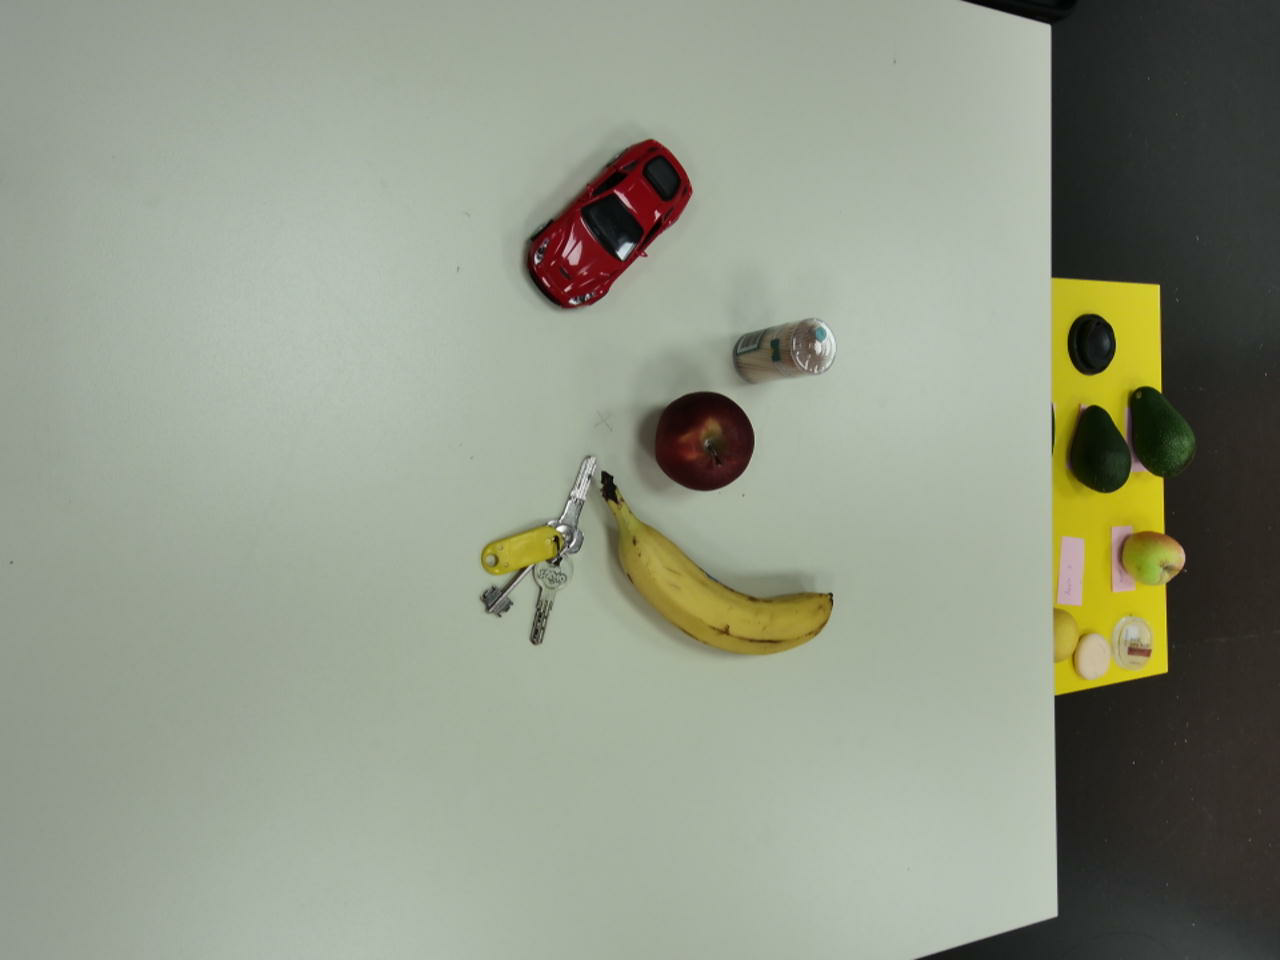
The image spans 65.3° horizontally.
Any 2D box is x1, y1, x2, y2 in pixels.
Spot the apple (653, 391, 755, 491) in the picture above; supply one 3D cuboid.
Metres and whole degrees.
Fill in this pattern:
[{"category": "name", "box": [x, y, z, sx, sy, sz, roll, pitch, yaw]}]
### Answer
[{"category": "apple", "box": [0.044, -0.026, 0.695, 0.070, 0.072, 0.070, 0, 90, -28]}]
